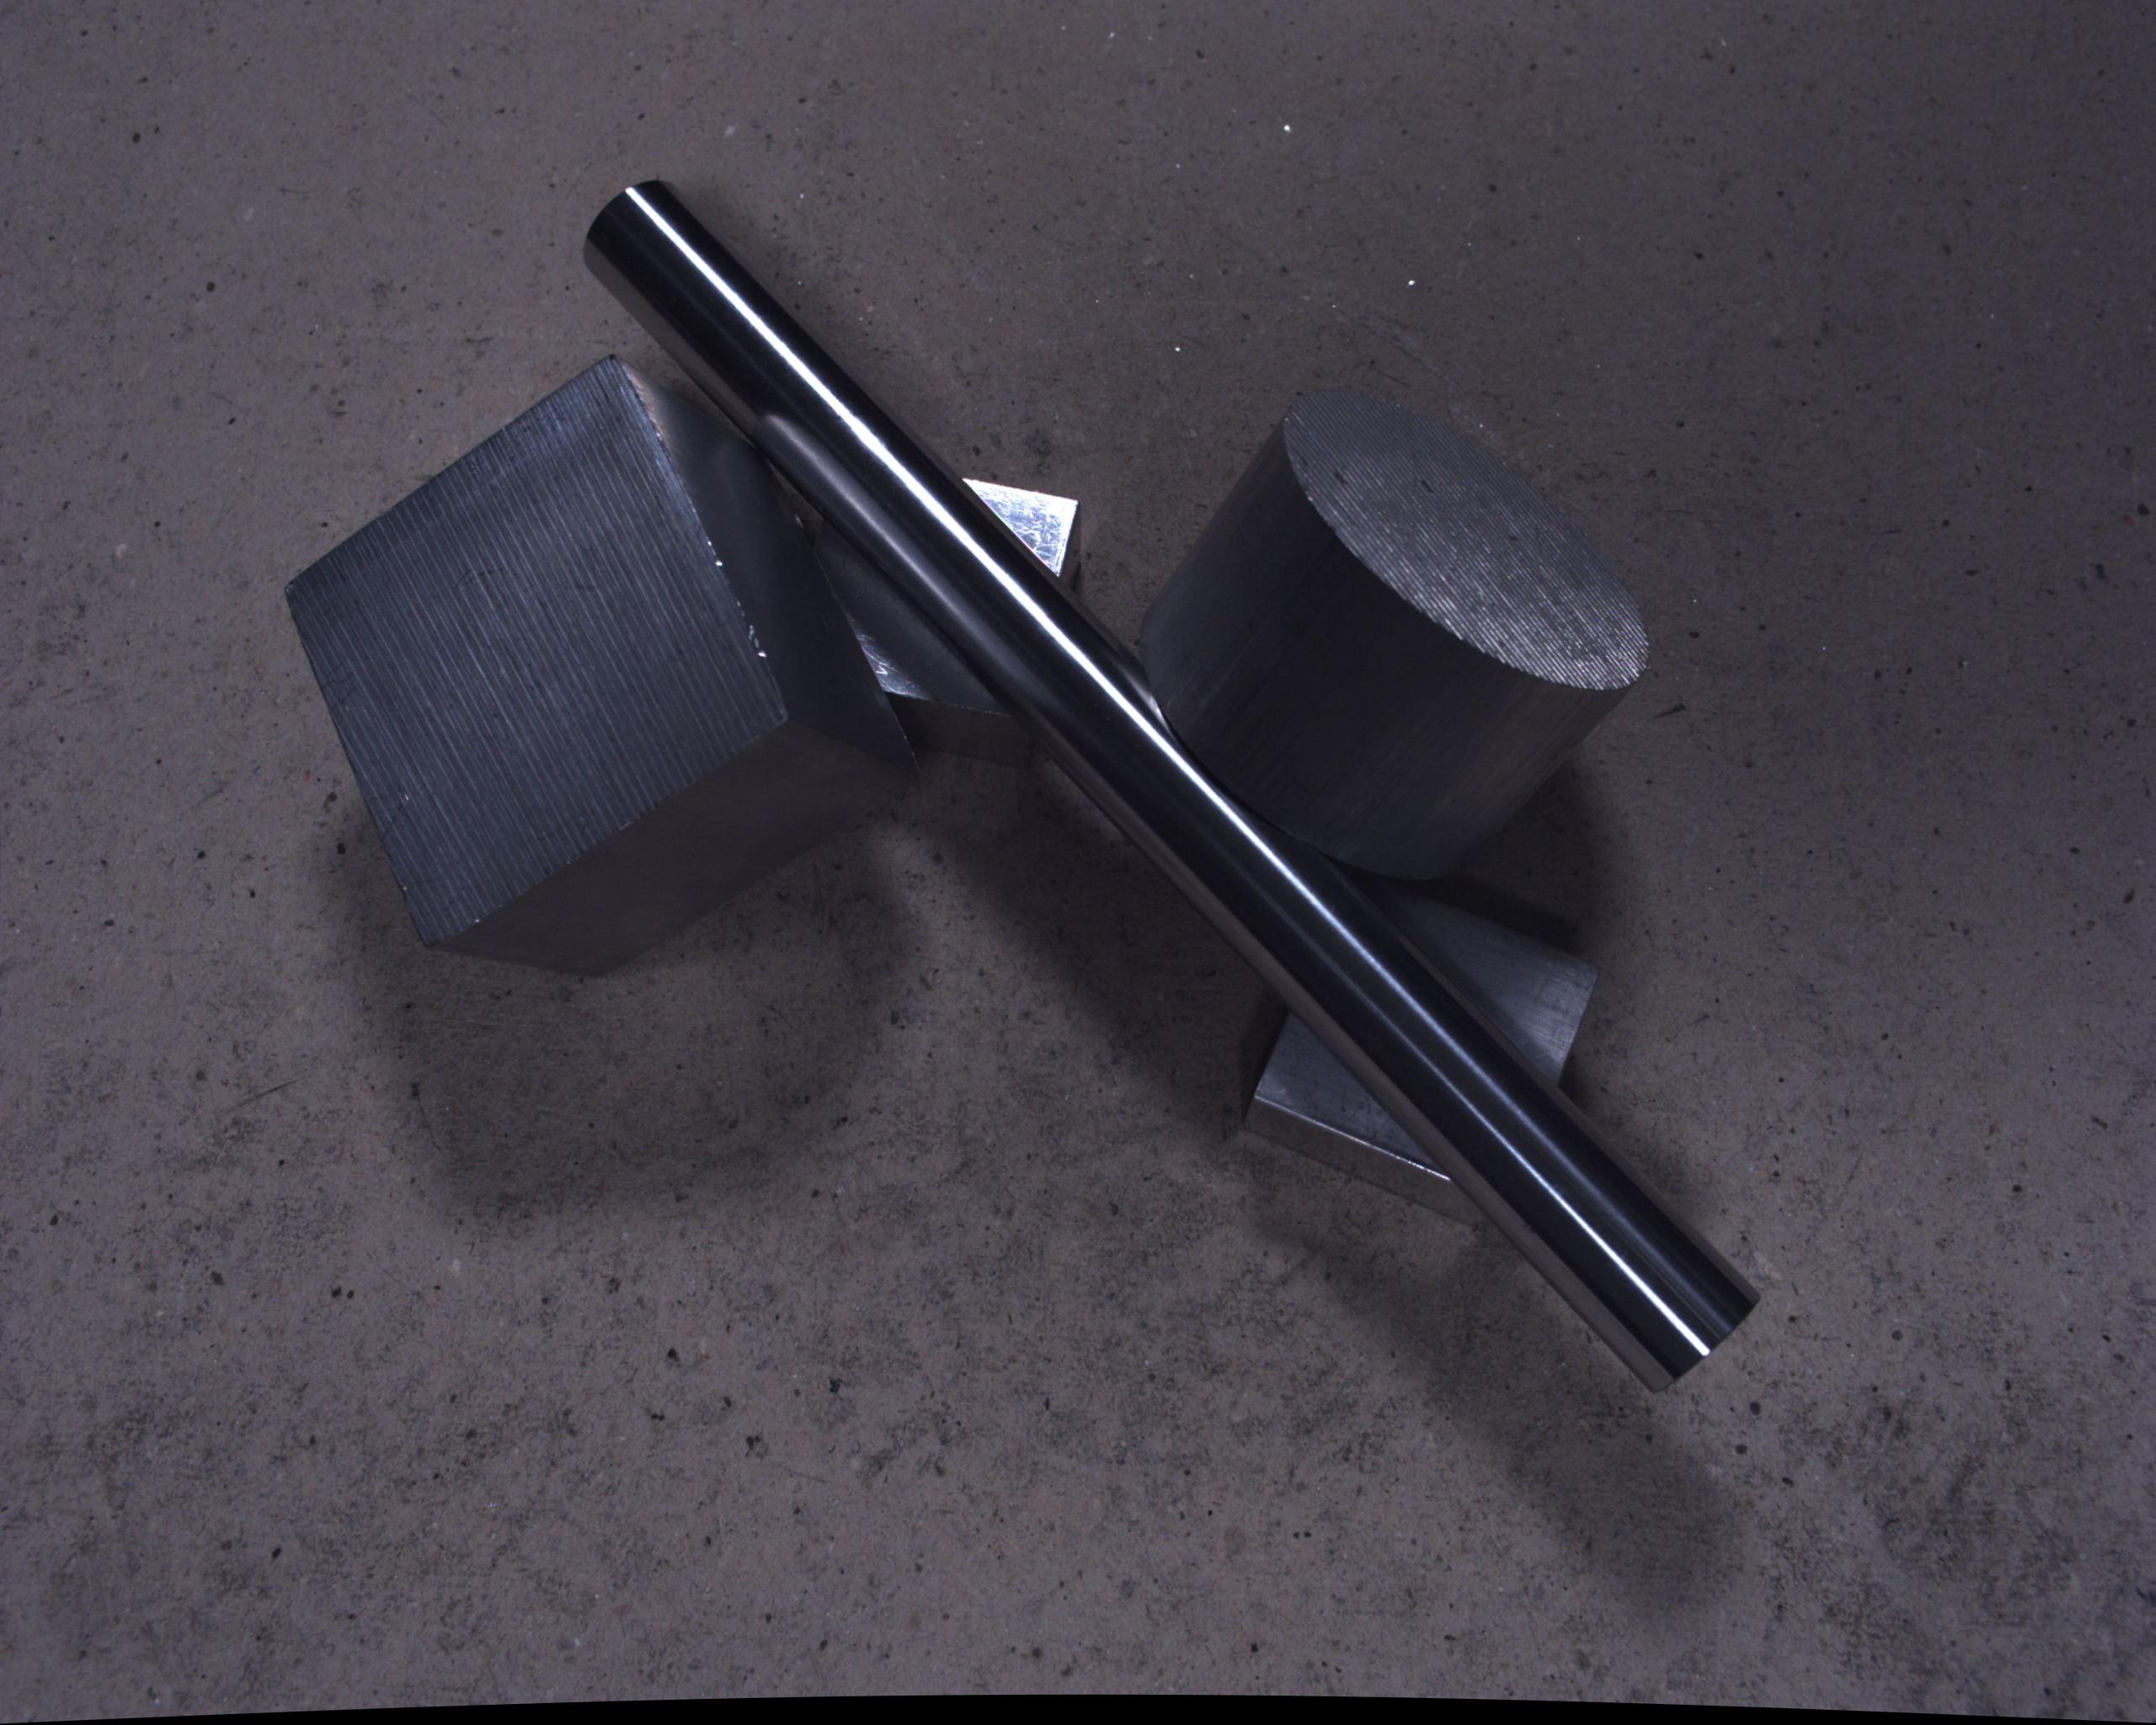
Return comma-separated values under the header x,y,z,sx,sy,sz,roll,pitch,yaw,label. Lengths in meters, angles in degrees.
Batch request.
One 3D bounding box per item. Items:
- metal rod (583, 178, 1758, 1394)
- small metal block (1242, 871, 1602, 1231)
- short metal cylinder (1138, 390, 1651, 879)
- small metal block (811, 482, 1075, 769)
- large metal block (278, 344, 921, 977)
x,y,z,sx,sy,sz,roll,pitch,yaw,label
0.007,-0.024,0.392,0.025,0.025,0.300,-39,75,-13,metal rod
0.065,0.035,0.398,0.050,0.025,0.050,23,71,8,small metal block
0.059,-0.043,0.391,0.080,0.050,0.080,23,37,-19,short metal cylinder
-0.030,-0.051,0.428,0.050,0.025,0.050,12,70,4,small metal block
-0.089,-0.035,0.390,0.080,0.050,0.080,-31,72,13,large metal block
